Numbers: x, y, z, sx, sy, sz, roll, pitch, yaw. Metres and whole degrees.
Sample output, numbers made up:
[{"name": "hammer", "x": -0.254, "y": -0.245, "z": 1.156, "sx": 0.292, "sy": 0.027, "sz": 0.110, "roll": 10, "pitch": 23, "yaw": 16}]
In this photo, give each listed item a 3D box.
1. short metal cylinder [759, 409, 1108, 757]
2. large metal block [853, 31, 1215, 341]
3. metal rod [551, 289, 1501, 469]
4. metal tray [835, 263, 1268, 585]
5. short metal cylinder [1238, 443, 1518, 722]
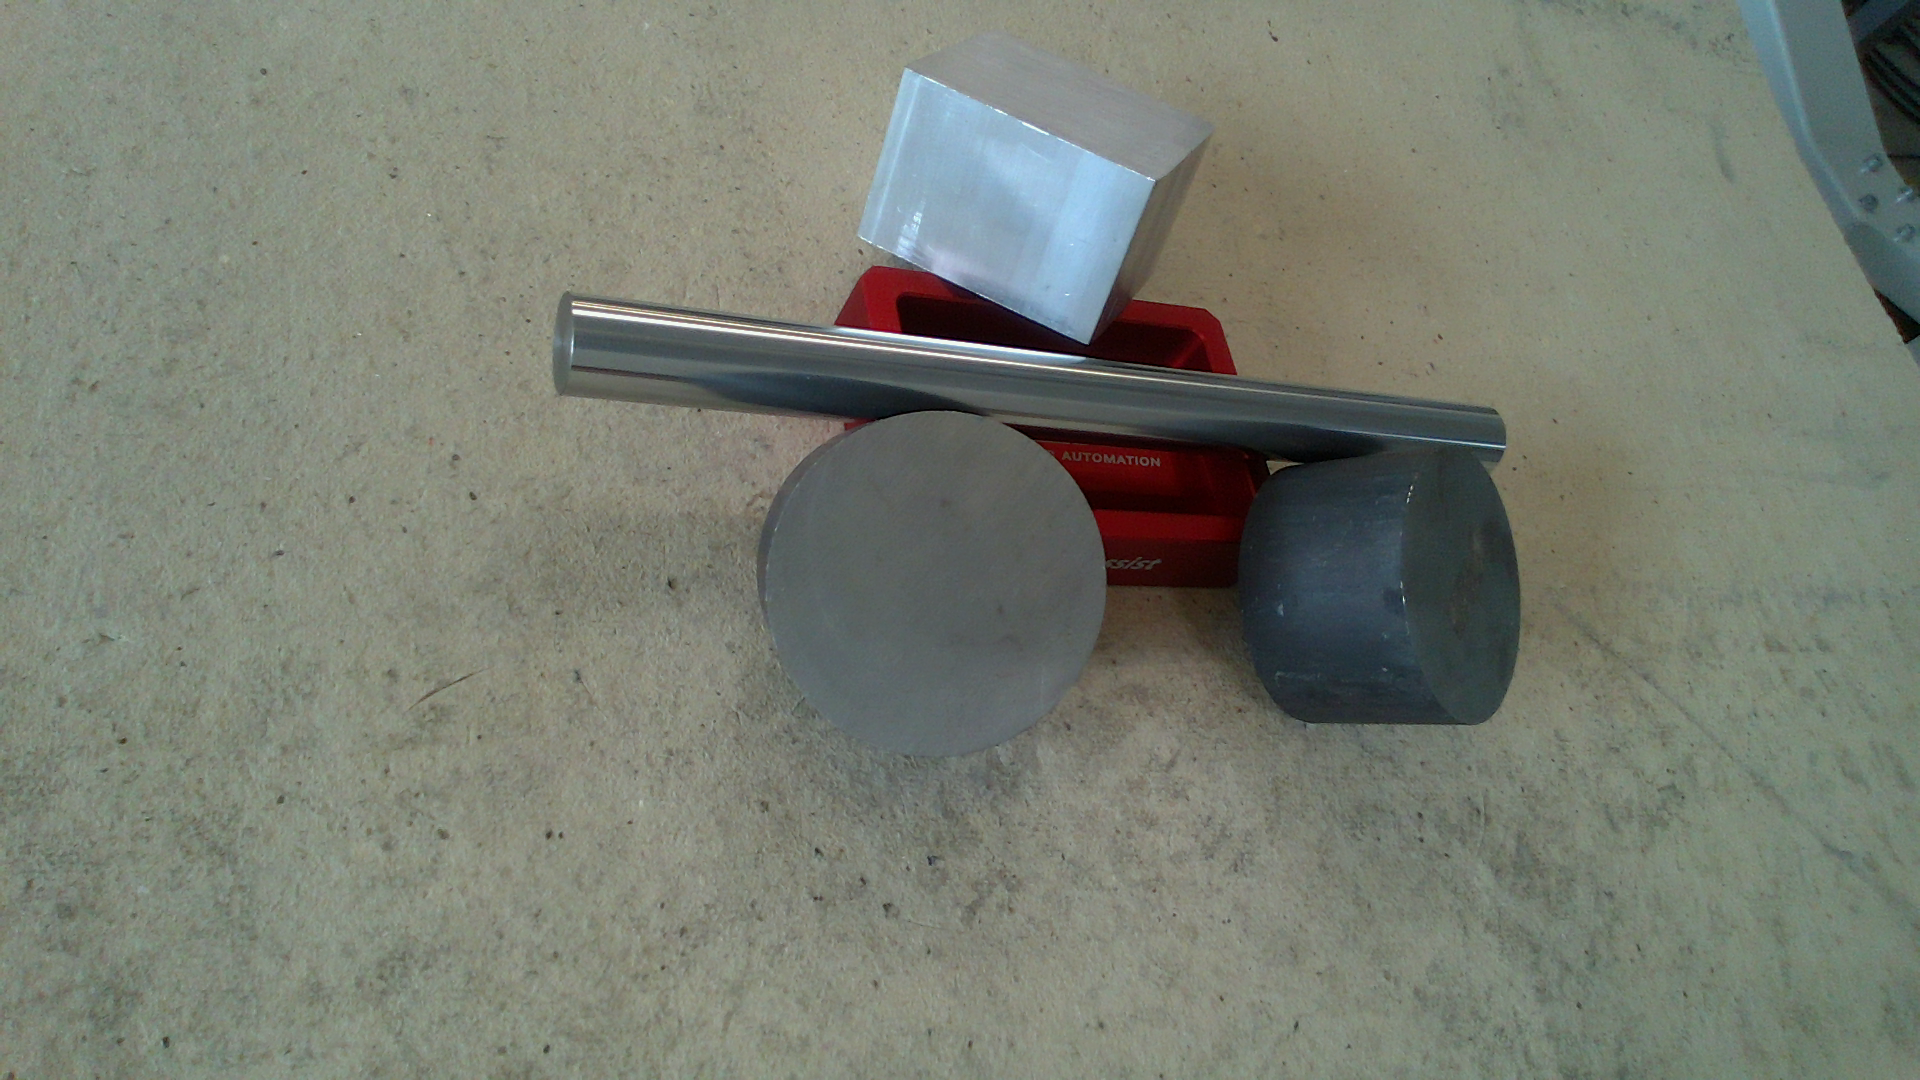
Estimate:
[{"name": "short metal cylinder", "x": -0.009, "y": 0.009, "z": 0.340, "sx": 0.080, "sy": 0.050, "sz": 0.080, "roll": -1, "pitch": 93, "yaw": -11}, {"name": "large metal block", "x": 0.025, "y": -0.113, "z": 0.429, "sx": 0.080, "sy": 0.050, "sz": 0.080, "roll": 27, "pitch": 34, "yaw": 9}, {"name": "metal rod", "x": 0.039, "y": -0.040, "z": 0.397, "sx": 0.301, "sy": 0.025, "sz": 0.025, "roll": 3, "pitch": 60, "yaw": -27}, {"name": "metal tray", "x": 0.030, "y": -0.034, "z": 0.424, "sx": 0.130, "sy": 0.030, "sz": 0.090, "roll": 2, "pitch": 61, "yaw": -27}, {"name": "short metal cylinder", "x": 0.126, "y": 0.014, "z": 0.412, "sx": 0.080, "sy": 0.050, "sz": 0.080, "roll": 9, "pitch": 78, "yaw": -46}]
